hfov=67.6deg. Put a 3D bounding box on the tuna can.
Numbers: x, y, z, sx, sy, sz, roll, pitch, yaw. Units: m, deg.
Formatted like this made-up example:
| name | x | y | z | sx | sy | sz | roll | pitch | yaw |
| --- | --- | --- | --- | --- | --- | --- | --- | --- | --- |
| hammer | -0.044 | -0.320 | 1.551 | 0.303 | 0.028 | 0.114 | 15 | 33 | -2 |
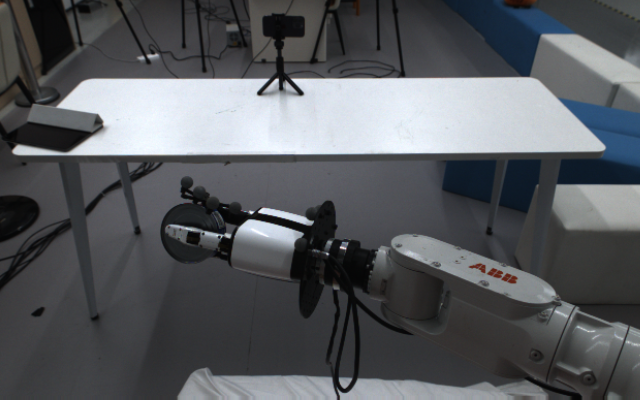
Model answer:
| name | x | y | z | sx | sy | sz | roll | pitch | yaw |
| --- | --- | --- | --- | --- | --- | --- | --- | --- | --- |
| tuna can | -0.176 | 0.047 | 0.682 | 0.085 | 0.085 | 0.034 | 10 | 4 | 11 |
